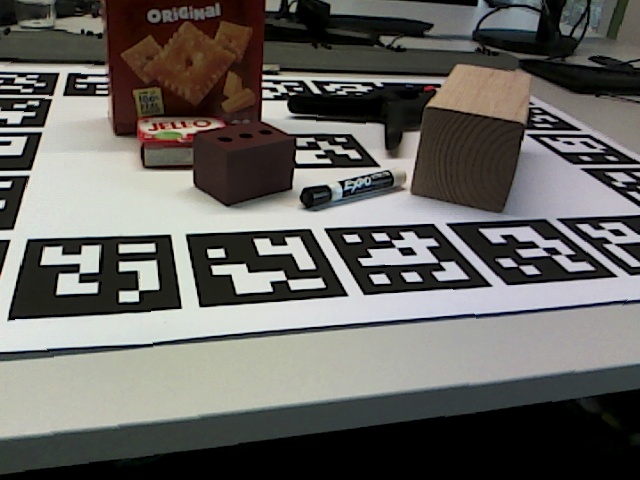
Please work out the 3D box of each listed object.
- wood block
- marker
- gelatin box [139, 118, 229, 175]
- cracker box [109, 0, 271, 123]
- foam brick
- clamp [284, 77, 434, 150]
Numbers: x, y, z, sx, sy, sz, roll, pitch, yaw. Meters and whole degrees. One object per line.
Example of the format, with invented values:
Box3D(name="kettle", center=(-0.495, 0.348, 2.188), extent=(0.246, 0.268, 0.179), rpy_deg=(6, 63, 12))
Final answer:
Box3D(name="wood block", center=(0.161, -0.113, 0.652), extent=(0.090, 0.091, 0.206), rpy_deg=(13, 30, 14))
Box3D(name="marker", center=(0.020, -0.042, 0.570), extent=(0.120, 0.019, 0.020), rpy_deg=(-17, 41, -33))
Box3D(name="gelatin box", center=(-0.135, -0.096, 0.623), extent=(0.089, 0.030, 0.074), rpy_deg=(-4, 35, -17))
Box3D(name="cracker box", center=(-0.138, -0.234, 0.656), extent=(0.163, 0.213, 0.072), rpy_deg=(-4, 33, -21))
Box3D(name="foam brick", center=(-0.072, -0.066, 0.562), extent=(0.077, 0.051, 0.053), rpy_deg=(-21, 43, -36))
Box3D(name="clamp", center=(0.080, -0.172, 0.774), extent=(0.166, 0.036, 0.202), rpy_deg=(31, 40, 32))
